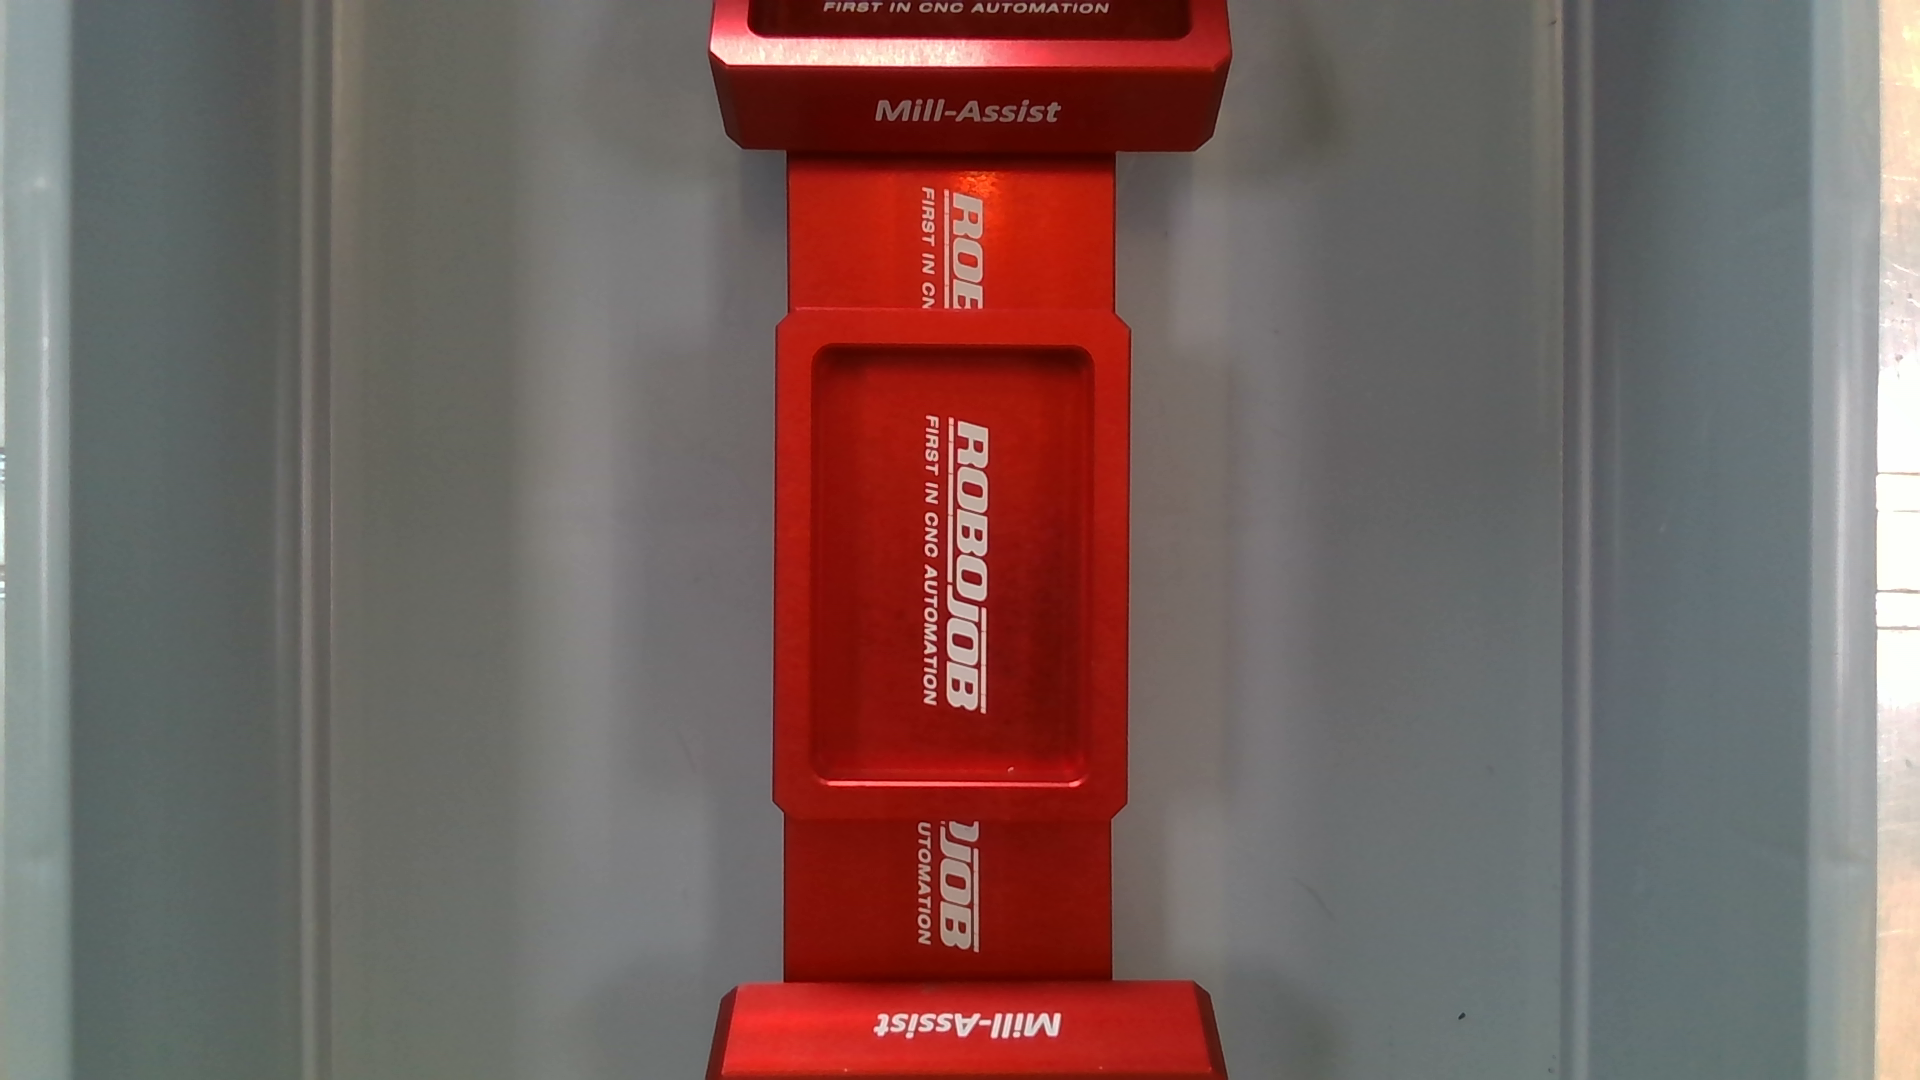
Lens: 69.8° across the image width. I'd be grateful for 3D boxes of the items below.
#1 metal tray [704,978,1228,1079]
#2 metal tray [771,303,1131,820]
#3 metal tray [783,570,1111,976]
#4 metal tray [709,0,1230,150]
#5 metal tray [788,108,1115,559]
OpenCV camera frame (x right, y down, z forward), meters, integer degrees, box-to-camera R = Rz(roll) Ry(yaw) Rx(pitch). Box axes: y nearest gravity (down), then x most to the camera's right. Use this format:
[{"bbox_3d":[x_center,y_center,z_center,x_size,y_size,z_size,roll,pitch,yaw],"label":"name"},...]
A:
[{"bbox_3d":[0.001,0.162,0.373,0.130,0.030,0.090,0,118,0],"label":"metal tray"},{"bbox_3d":[-0.002,0.006,0.361,0.090,0.030,0.130,0,90,-1],"label":"metal tray"},{"bbox_3d":[-0.004,0.072,0.393,0.090,0.030,0.130,0,90,0],"label":"metal tray"},{"bbox_3d":[0.003,-0.151,0.373,0.130,0.030,0.090,0,65,0],"label":"metal tray"},{"bbox_3d":[-0.002,-0.058,0.392,0.090,0.030,0.130,0,90,0],"label":"metal tray"}]
